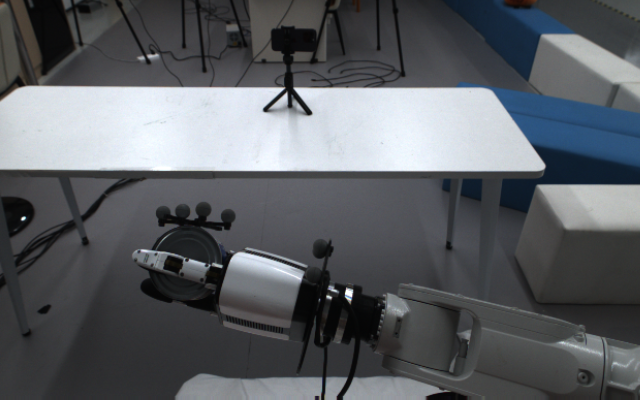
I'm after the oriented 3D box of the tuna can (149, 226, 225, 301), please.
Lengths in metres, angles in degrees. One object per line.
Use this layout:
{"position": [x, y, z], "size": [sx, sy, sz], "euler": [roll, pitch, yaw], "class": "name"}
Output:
{"position": [-0.152, 0.075, 0.567], "size": [0.085, 0.034, 0.085], "euler": [-1, 76, 4], "class": "tuna can"}
